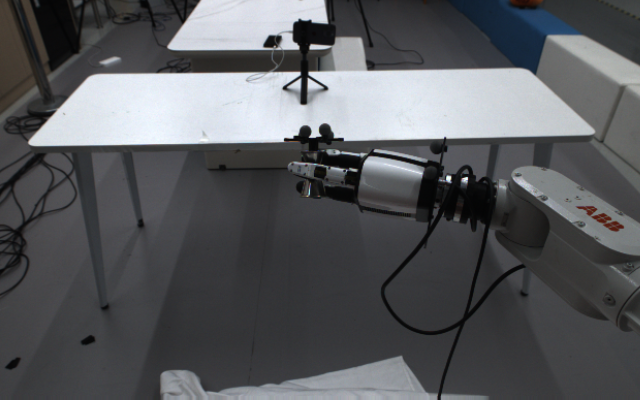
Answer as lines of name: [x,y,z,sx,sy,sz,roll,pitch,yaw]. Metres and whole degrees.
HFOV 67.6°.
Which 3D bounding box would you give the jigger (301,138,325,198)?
jigger: [-0.009,-0.039,0.723,0.043,0.071,0.043,-1,2,0]
